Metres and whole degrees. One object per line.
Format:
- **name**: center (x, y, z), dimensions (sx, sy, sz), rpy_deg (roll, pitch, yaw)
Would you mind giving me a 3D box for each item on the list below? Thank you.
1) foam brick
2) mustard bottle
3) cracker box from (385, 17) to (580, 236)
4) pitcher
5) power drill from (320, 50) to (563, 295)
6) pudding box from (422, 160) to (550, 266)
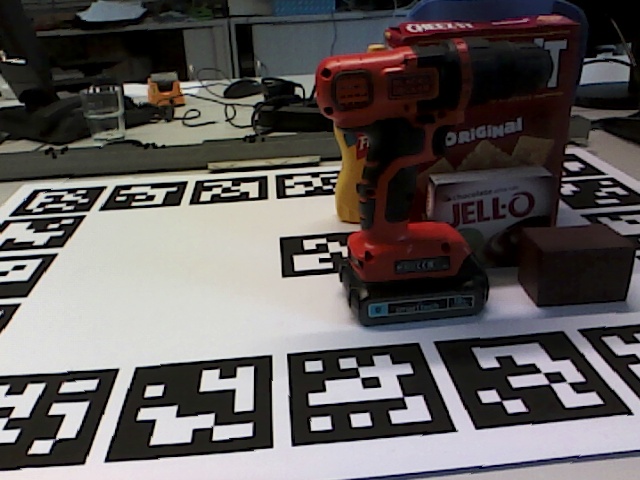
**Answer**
- **foam brick**: center (0.217, 0.029, 0.541), dimensions (0.078, 0.051, 0.053), rpy_deg (-3, 28, -1)
- **mustard bottle**: center (0.059, -0.127, 0.691), dimensions (0.096, 0.191, 0.058), rpy_deg (1, 28, 9)
- **cracker box**: center (0.154, -0.094, 0.601), dimensions (0.164, 0.213, 0.072), rpy_deg (-7, 25, -4)
- **pitcher**: center (0.191, -0.148, 0.693), dimensions (0.189, 0.242, 0.133), rpy_deg (-3, 27, 3)
- **power drill**: center (0.094, -0.054, 0.492), dimensions (0.184, 0.186, 0.057), rpy_deg (-4, 23, -5)
- **pudding box**: center (0.153, -0.024, 0.581), dimensions (0.114, 0.090, 0.039), rpy_deg (-6, 25, -1)
